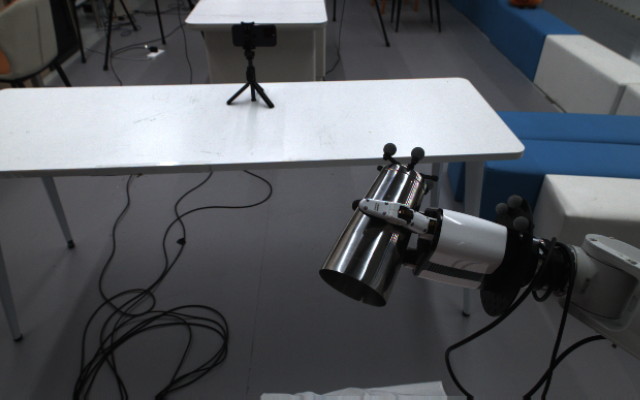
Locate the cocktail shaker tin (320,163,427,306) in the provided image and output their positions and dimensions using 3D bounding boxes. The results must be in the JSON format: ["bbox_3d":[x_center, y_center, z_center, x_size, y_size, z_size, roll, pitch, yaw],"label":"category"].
[{"bbox_3d":[0.079,0.036,0.623,0.093,0.093,0.170,18,66,21],"label":"cocktail shaker tin"}]
